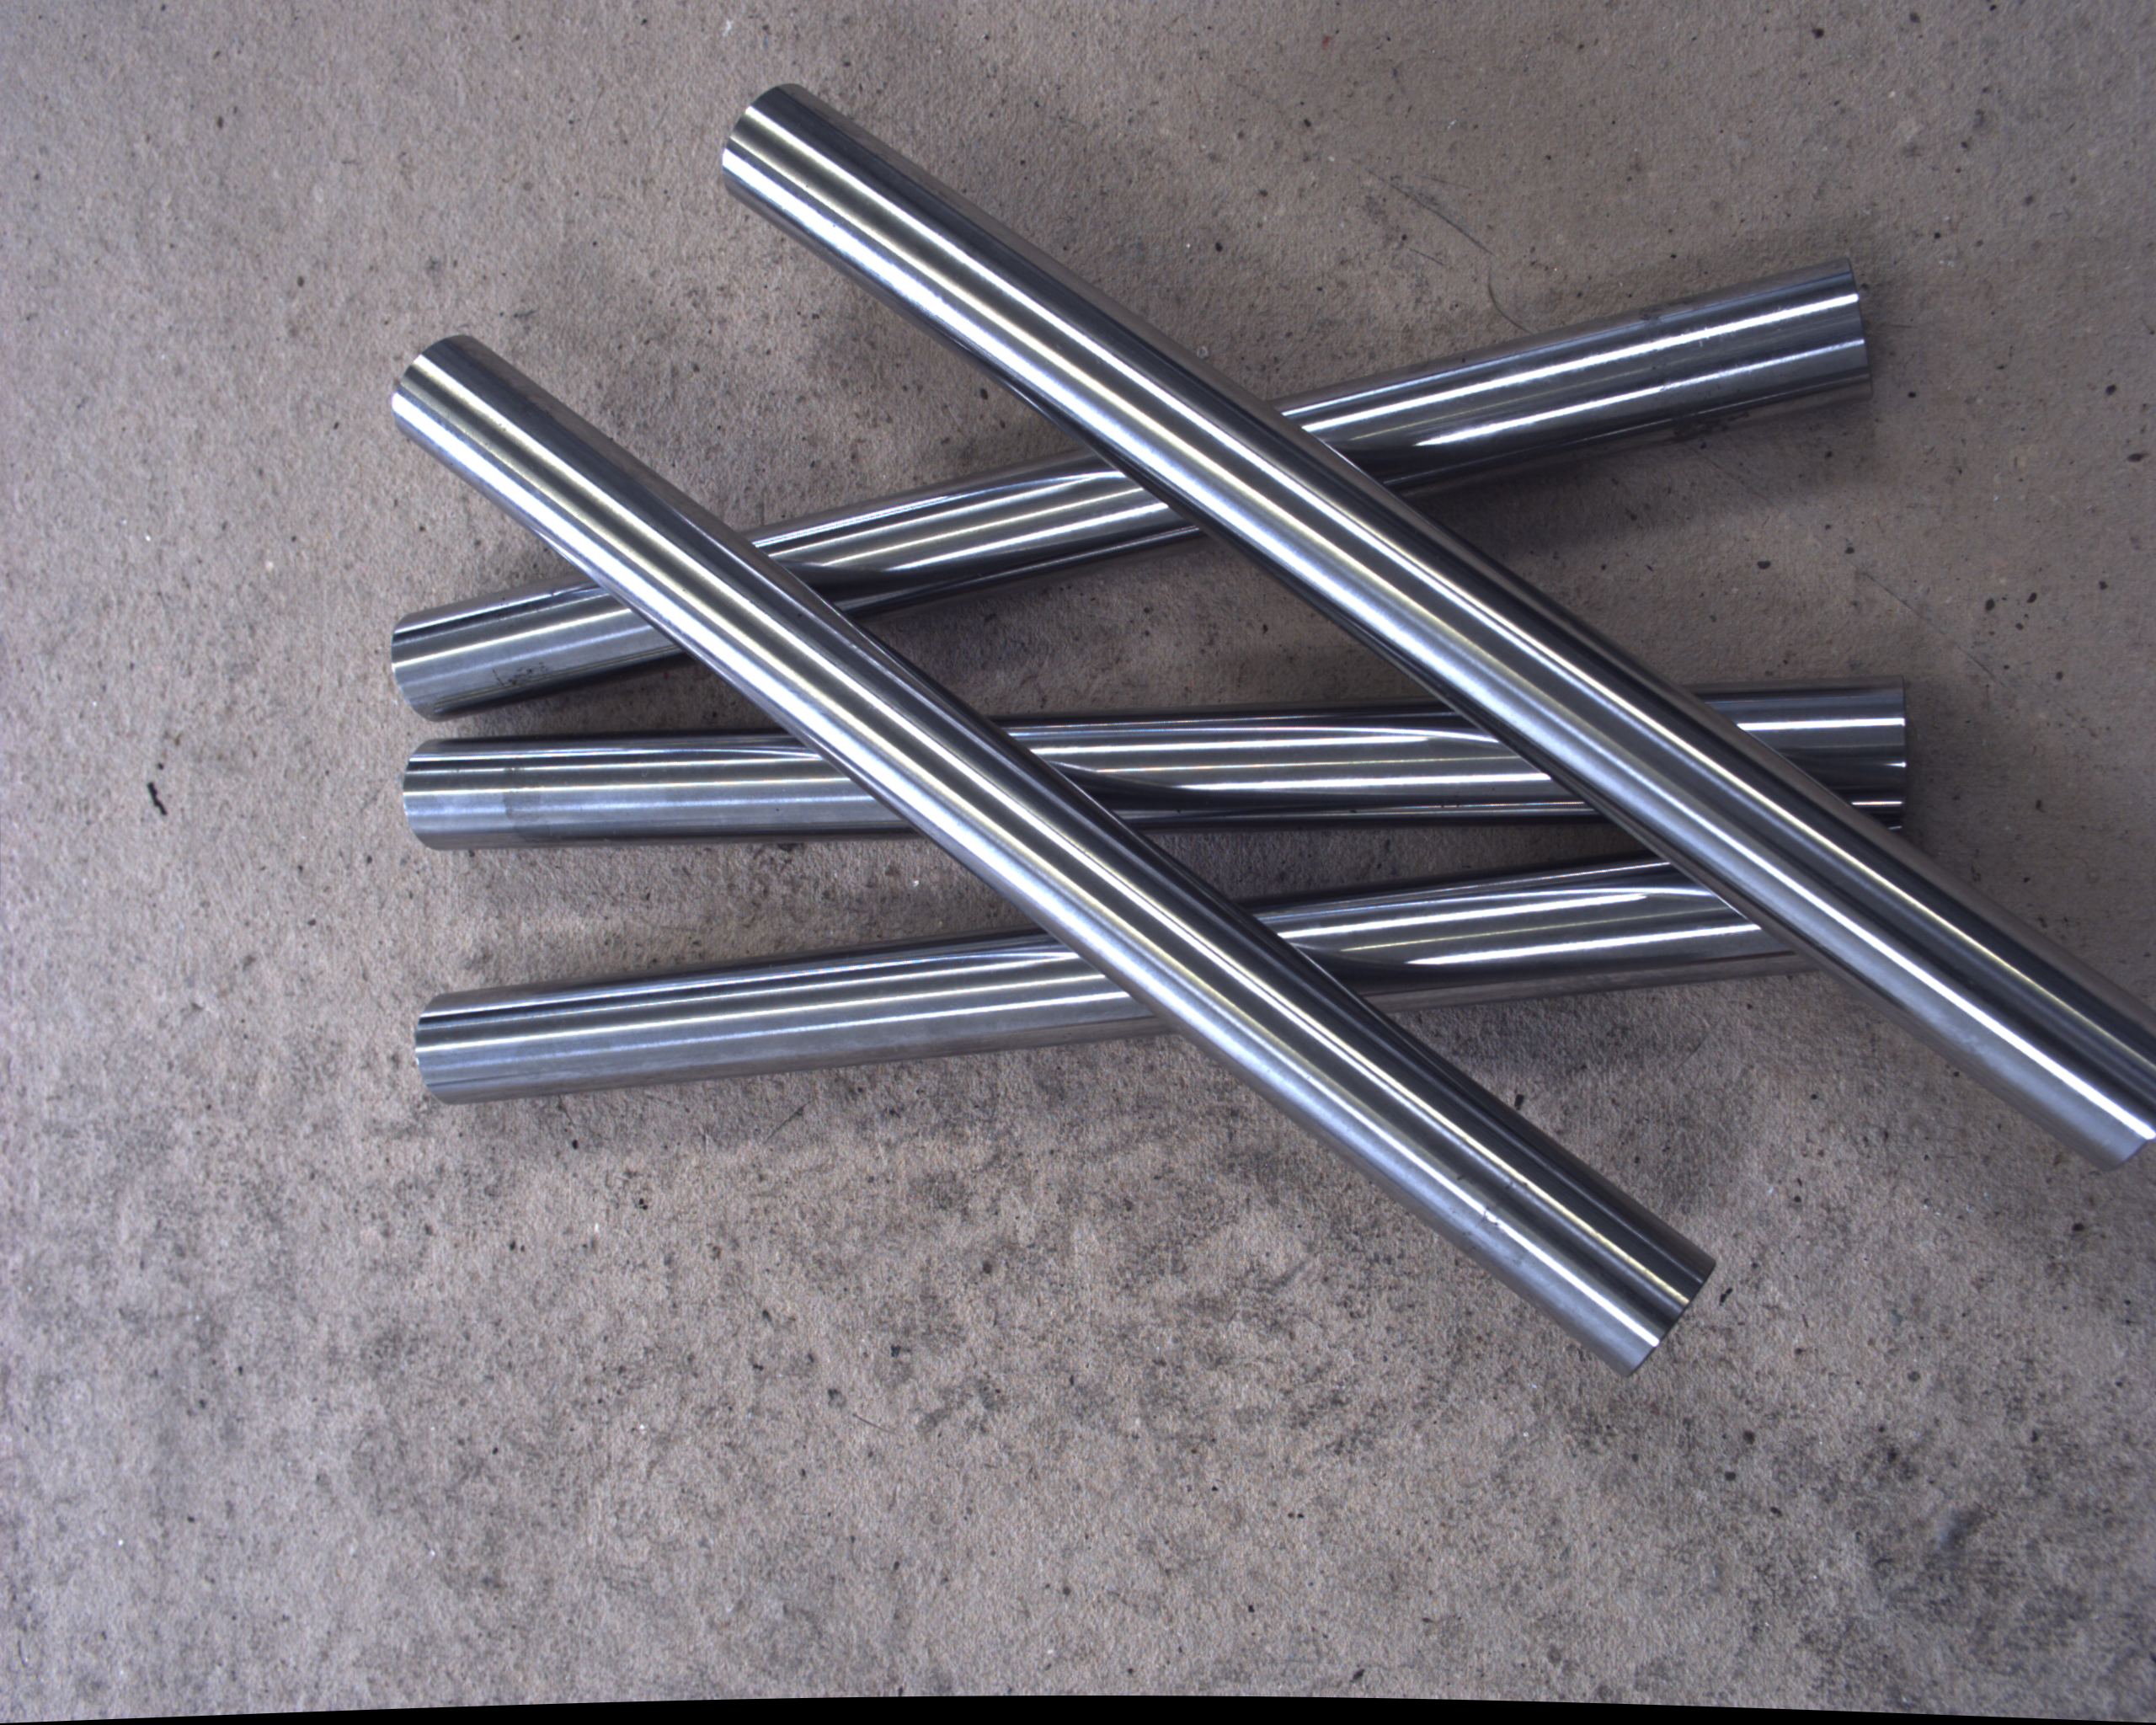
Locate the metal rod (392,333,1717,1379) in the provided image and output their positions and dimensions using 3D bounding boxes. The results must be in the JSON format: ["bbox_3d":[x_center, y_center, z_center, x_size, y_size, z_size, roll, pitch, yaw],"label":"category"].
[{"bbox_3d":[-0.016,-0.011,0.389,0.300,0.025,0.025,37,102,16],"label":"metal rod"}]

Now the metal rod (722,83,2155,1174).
[{"bbox_3d":[0.054,-0.051,0.364,0.300,0.025,0.025,38,102,16],"label":"metal rod"}]

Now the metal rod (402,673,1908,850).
[{"bbox_3d":[0.001,-0.018,0.410,0.301,0.025,0.025,-1,90,19],"label":"metal rod"}]

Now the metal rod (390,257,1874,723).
[{"bbox_3d":[-0.004,-0.068,0.411,0.301,0.025,0.025,-10,87,19],"label":"metal rod"}]

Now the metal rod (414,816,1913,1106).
[{"bbox_3d":[0.003,0.023,0.409,0.301,0.025,0.025,-7,88,19],"label":"metal rod"}]
